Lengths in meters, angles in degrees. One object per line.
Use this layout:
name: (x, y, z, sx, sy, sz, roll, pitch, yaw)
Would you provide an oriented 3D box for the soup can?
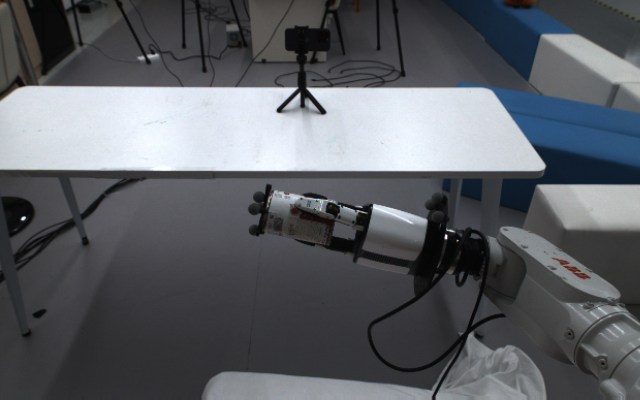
soup can: (-0.028, 0.027, 0.727, 0.101, 0.067, 0.067, 12, 35, -1)
